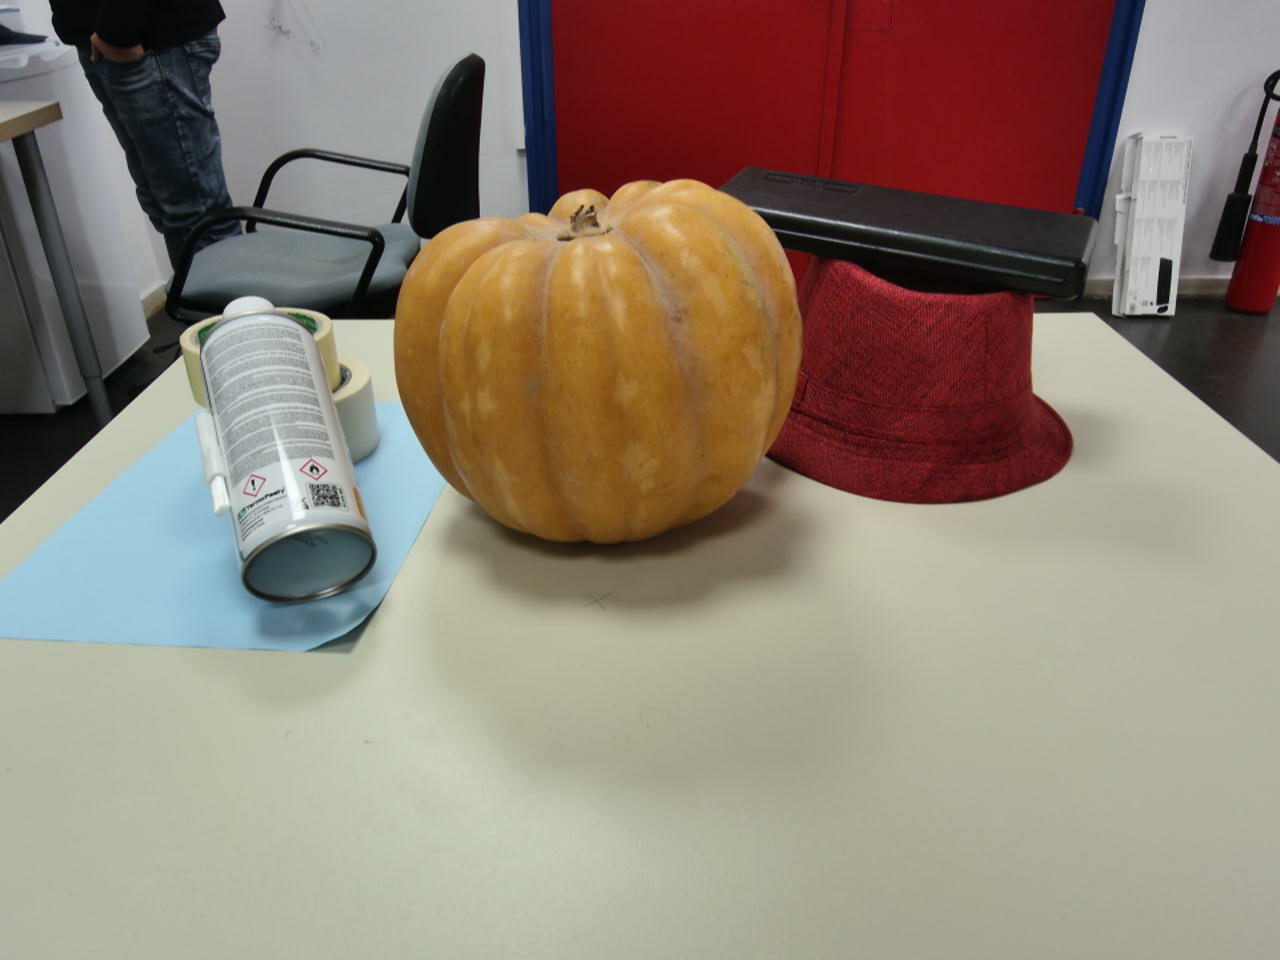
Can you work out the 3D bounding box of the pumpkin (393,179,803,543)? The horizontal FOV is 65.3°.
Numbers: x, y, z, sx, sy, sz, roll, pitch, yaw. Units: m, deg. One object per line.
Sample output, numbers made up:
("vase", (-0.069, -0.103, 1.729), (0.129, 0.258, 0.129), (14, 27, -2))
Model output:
("pumpkin", (-0.020, -0.068, 0.573), (0.230, 0.194, 0.230), (1, 27, 0))
